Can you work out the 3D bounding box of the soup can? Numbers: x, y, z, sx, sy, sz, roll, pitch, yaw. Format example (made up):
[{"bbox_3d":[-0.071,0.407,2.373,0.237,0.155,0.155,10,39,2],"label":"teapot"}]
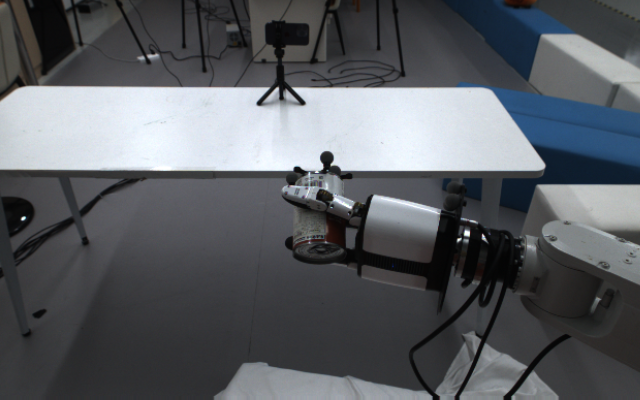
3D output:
[{"bbox_3d":[0.000,0.021,0.618,0.067,0.067,0.101,0,62,-2],"label":"soup can"}]
